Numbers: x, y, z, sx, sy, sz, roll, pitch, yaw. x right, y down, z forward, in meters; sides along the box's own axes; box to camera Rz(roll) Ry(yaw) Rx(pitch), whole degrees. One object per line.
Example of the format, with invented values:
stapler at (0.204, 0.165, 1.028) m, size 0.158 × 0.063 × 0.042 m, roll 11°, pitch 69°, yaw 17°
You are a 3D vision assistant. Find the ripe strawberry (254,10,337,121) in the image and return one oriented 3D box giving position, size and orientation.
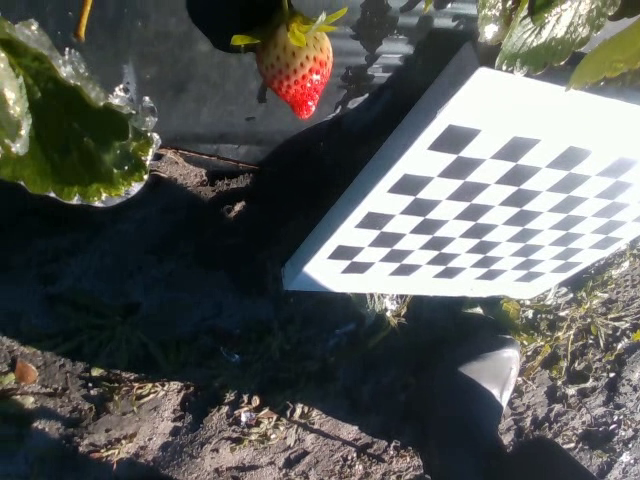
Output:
ripe strawberry at (-0.009, -0.077, 0.279) m, size 0.039 × 0.041 × 0.053 m, roll -7°, pitch -44°, yaw -7°
